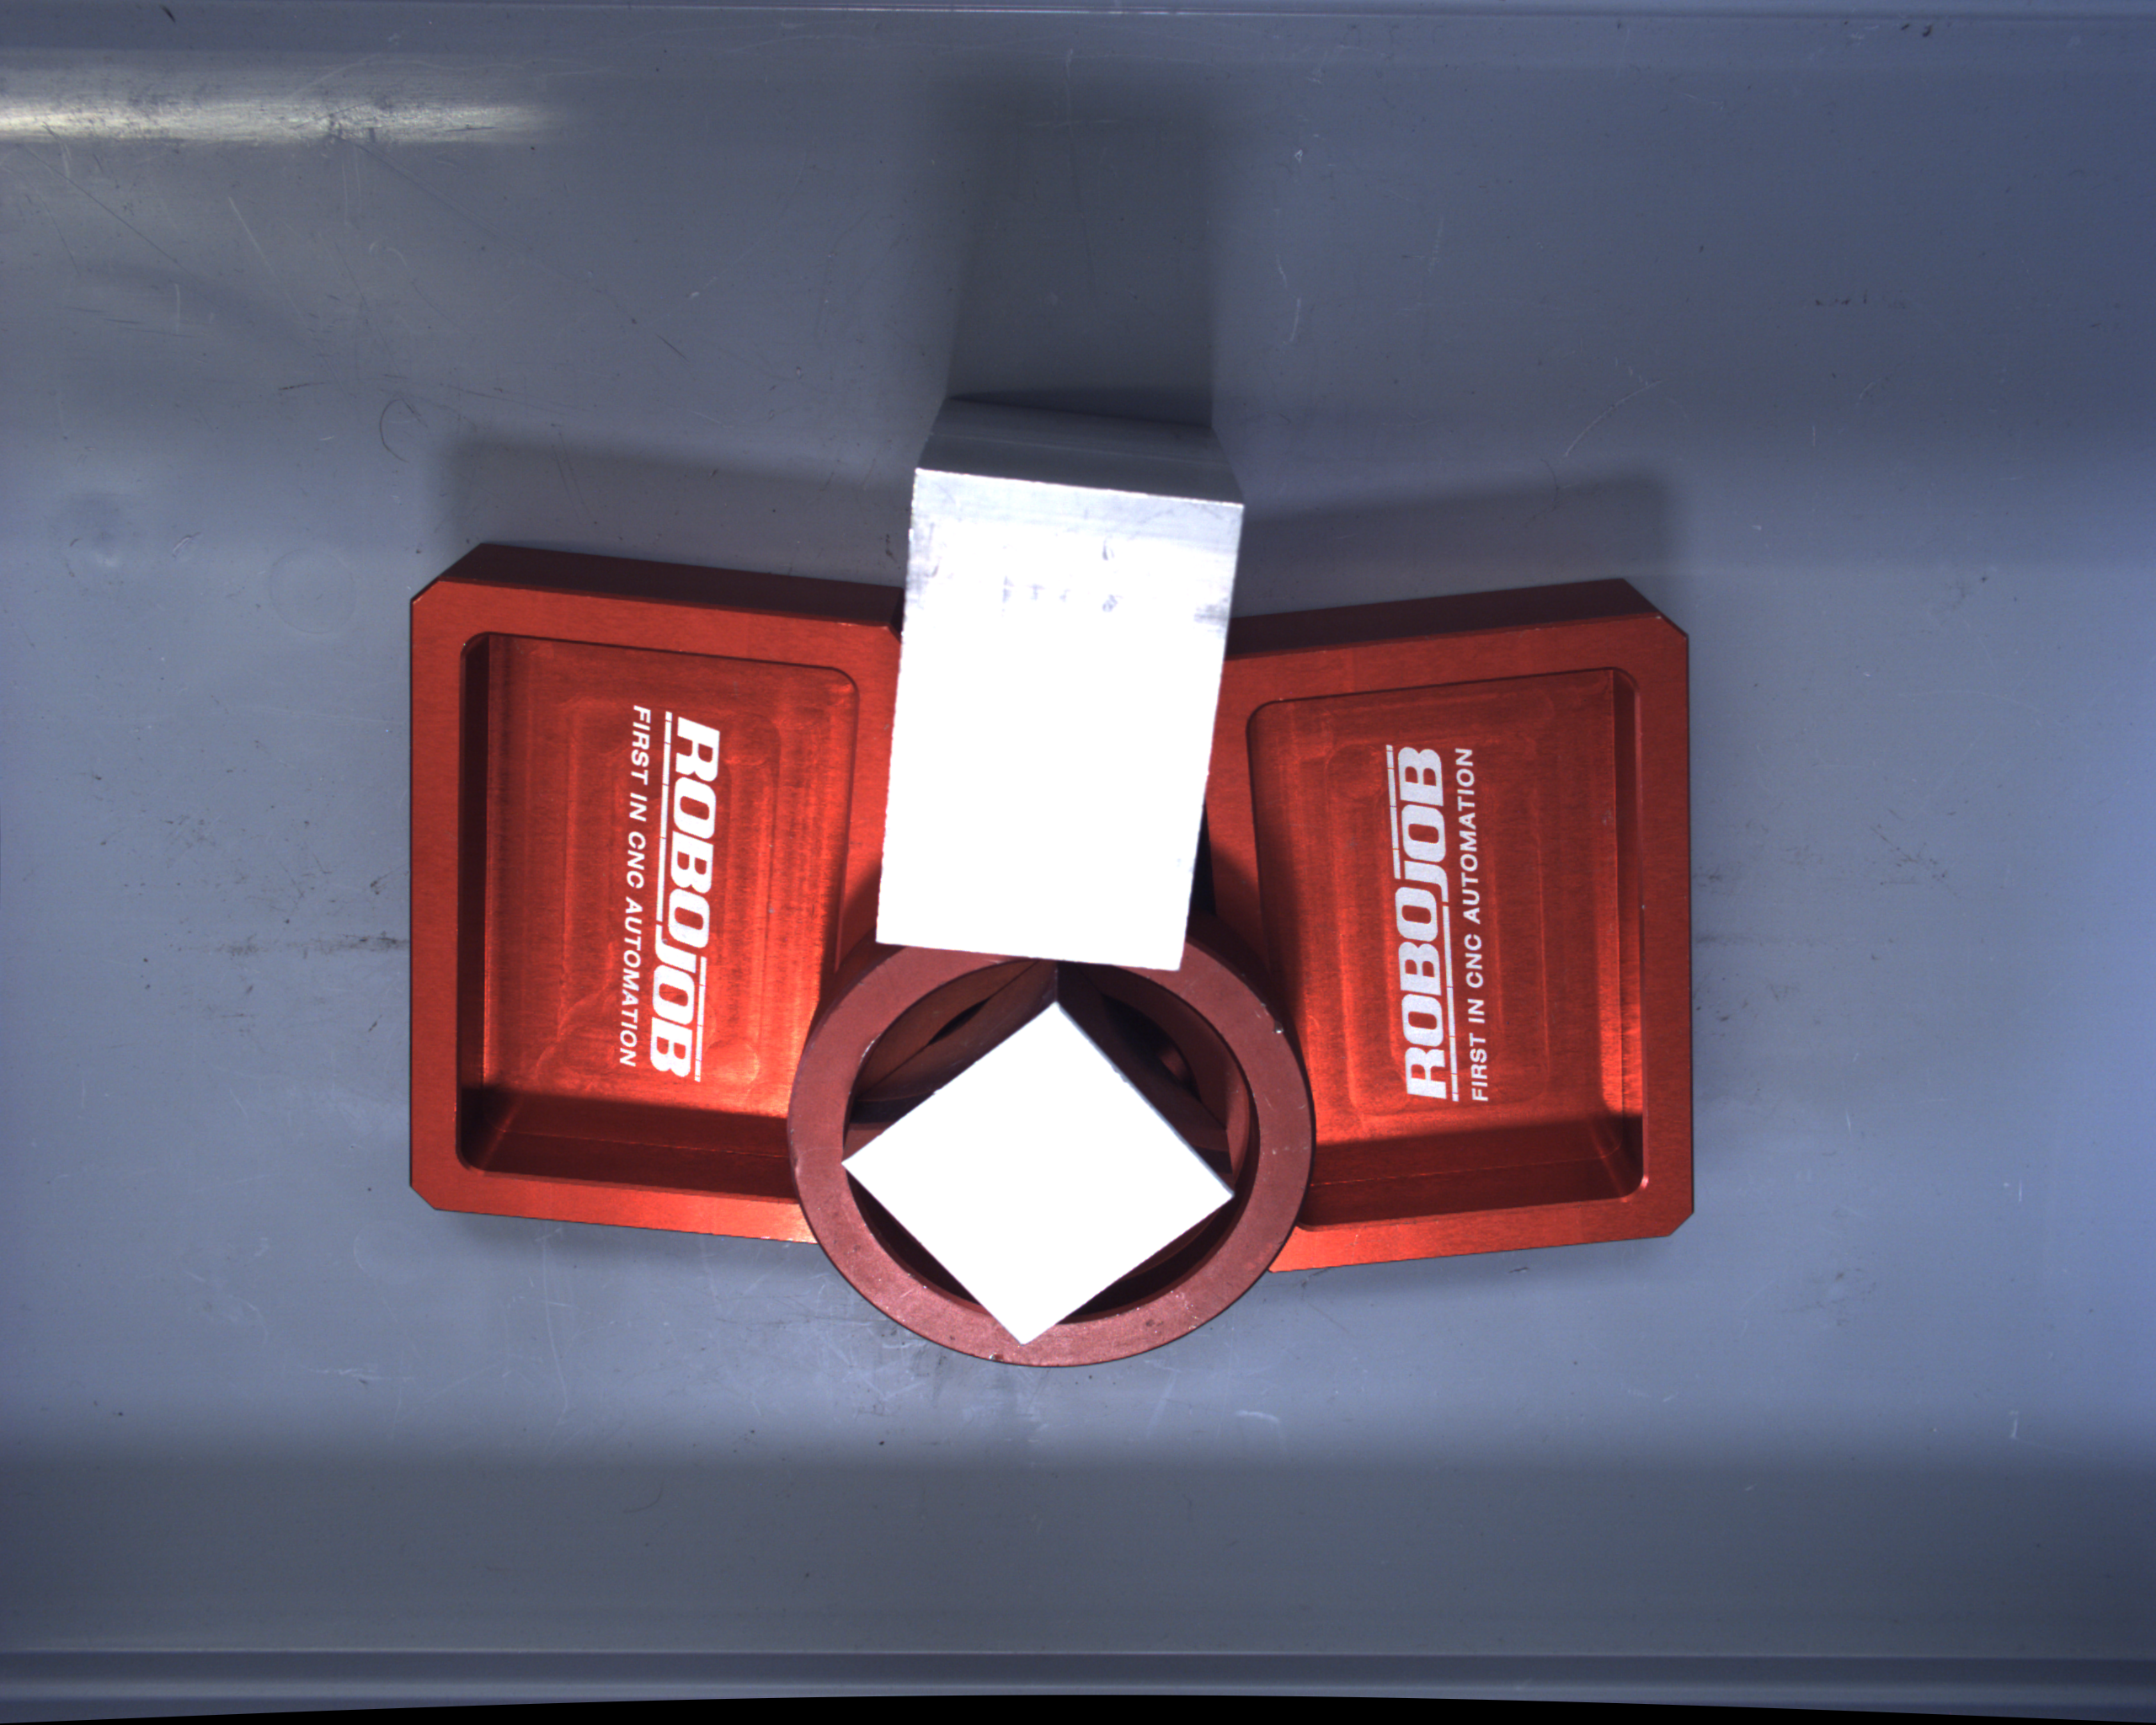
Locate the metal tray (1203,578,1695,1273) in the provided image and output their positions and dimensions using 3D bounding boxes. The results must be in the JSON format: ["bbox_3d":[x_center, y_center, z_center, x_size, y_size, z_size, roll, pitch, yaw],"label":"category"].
[{"bbox_3d":[0.072,0.014,0.412,0.091,0.030,0.129,-6,110,2],"label":"metal tray"}]

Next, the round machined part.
[{"bbox_3d":[-0.004,0.046,0.407,0.099,0.042,0.097,0,110,0],"label":"round machined part"}]

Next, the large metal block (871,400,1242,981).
[{"bbox_3d":[-0.005,-0.034,0.367,0.050,0.080,0.079,6,110,-2],"label":"large metal block"}]

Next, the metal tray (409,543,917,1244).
[{"bbox_3d":[-0.081,0.008,0.409,0.091,0.030,0.129,6,110,-3],"label":"metal tray"}]

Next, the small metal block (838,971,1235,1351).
[{"bbox_3d":[-0.007,0.053,0.384,0.050,0.025,0.050,-37,106,12],"label":"small metal block"}]
